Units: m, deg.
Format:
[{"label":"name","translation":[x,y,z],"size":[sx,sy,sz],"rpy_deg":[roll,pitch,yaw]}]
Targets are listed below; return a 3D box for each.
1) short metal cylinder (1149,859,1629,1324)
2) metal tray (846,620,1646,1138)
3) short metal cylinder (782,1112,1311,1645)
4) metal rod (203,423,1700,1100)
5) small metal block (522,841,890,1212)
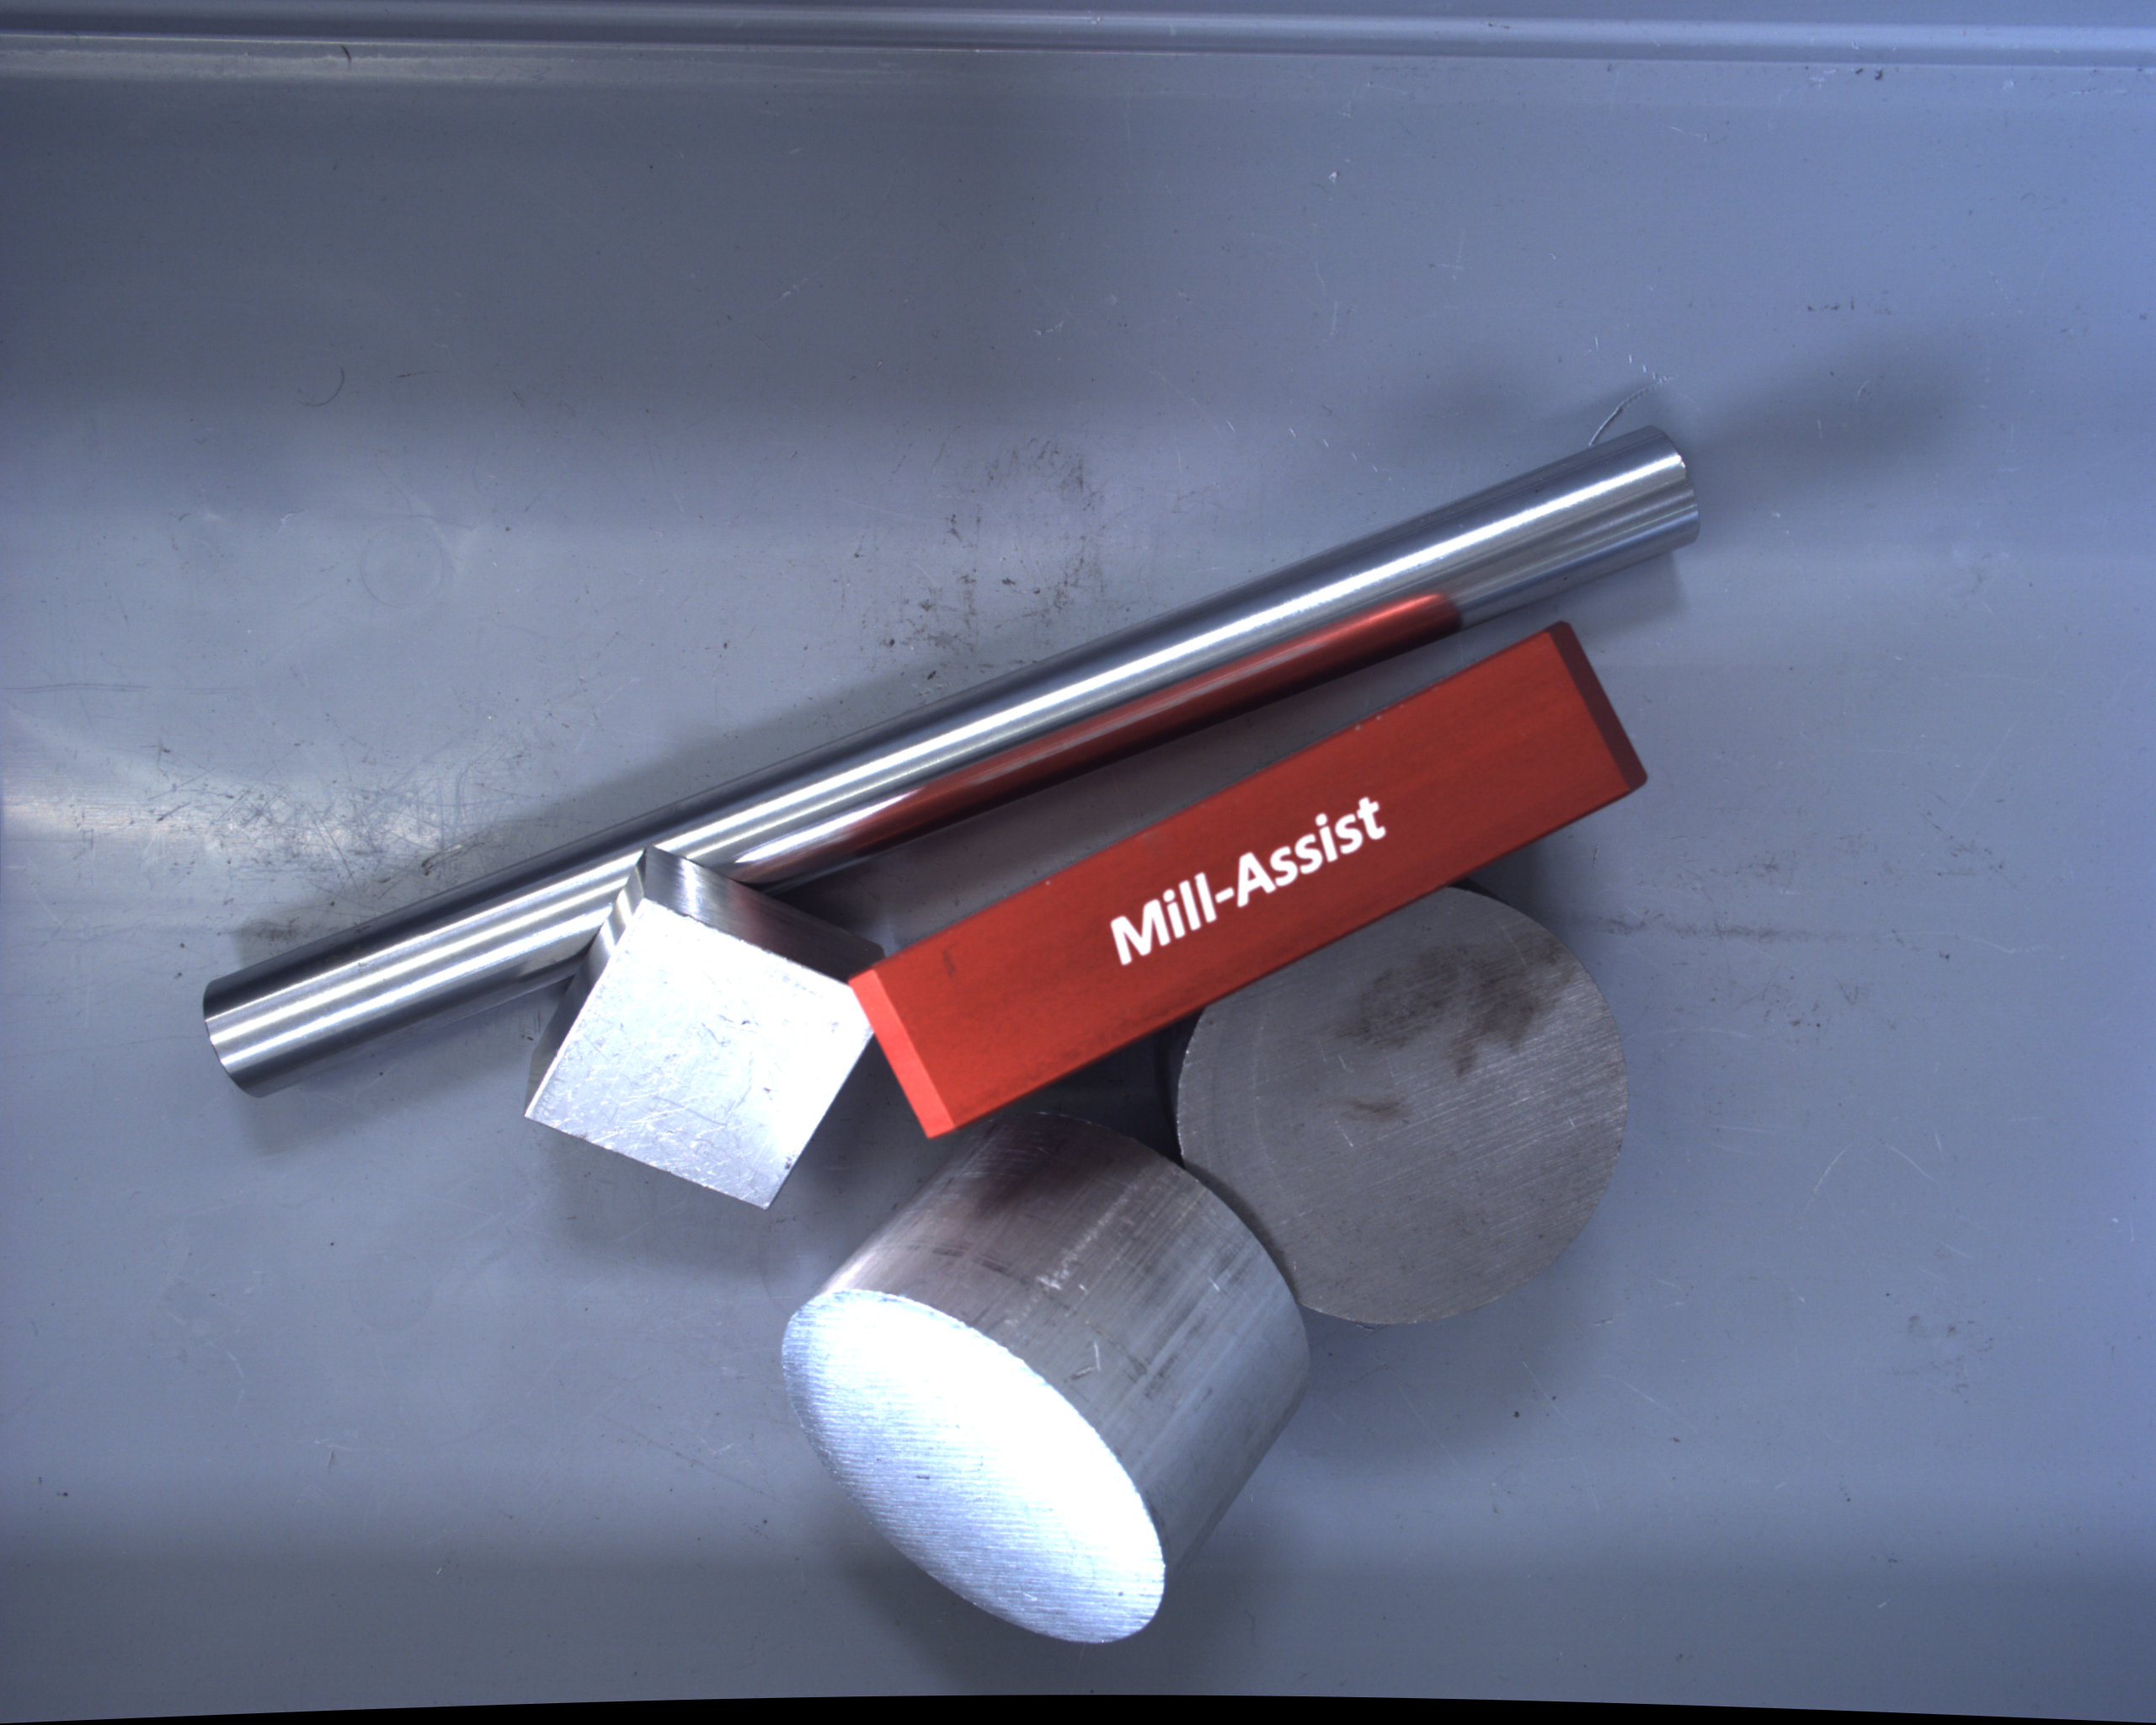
[{"label":"short metal cylinder","translation":[0.056,0.040,0.393],"size":[0.081,0.050,0.079],"rpy_deg":[-1,99,-4]},{"label":"metal tray","translation":[0.027,0.002,0.377],"size":[0.131,0.090,0.030],"rpy_deg":[-26,90,0]},{"label":"short metal cylinder","translation":[-0.006,0.092,0.375],"size":[0.080,0.080,0.050],"rpy_deg":[47,49,0]},{"label":"metal rod","translation":[-0.024,-0.020,0.409],"size":[0.301,0.025,0.025],"rpy_deg":[-21,90,0]},{"label":"small metal block","translation":[-0.070,0.032,0.396],"size":[0.050,0.025,0.050],"rpy_deg":[26,106,-19]}]
